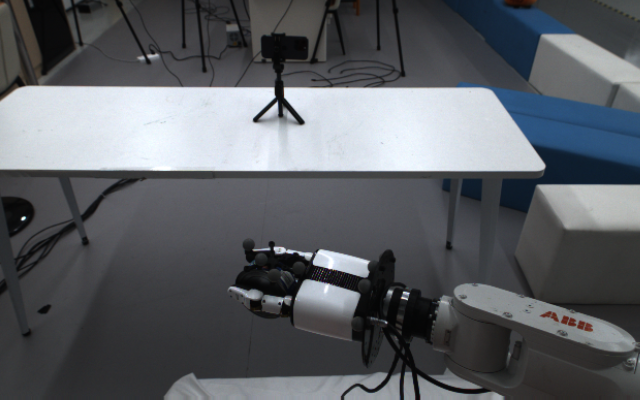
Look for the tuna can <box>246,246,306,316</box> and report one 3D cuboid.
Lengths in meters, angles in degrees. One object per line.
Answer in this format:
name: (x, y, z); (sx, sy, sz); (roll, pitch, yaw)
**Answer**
tuna can: (-0.073, 0.126, 0.695); (0.085, 0.085, 0.034); (16, 29, 19)
